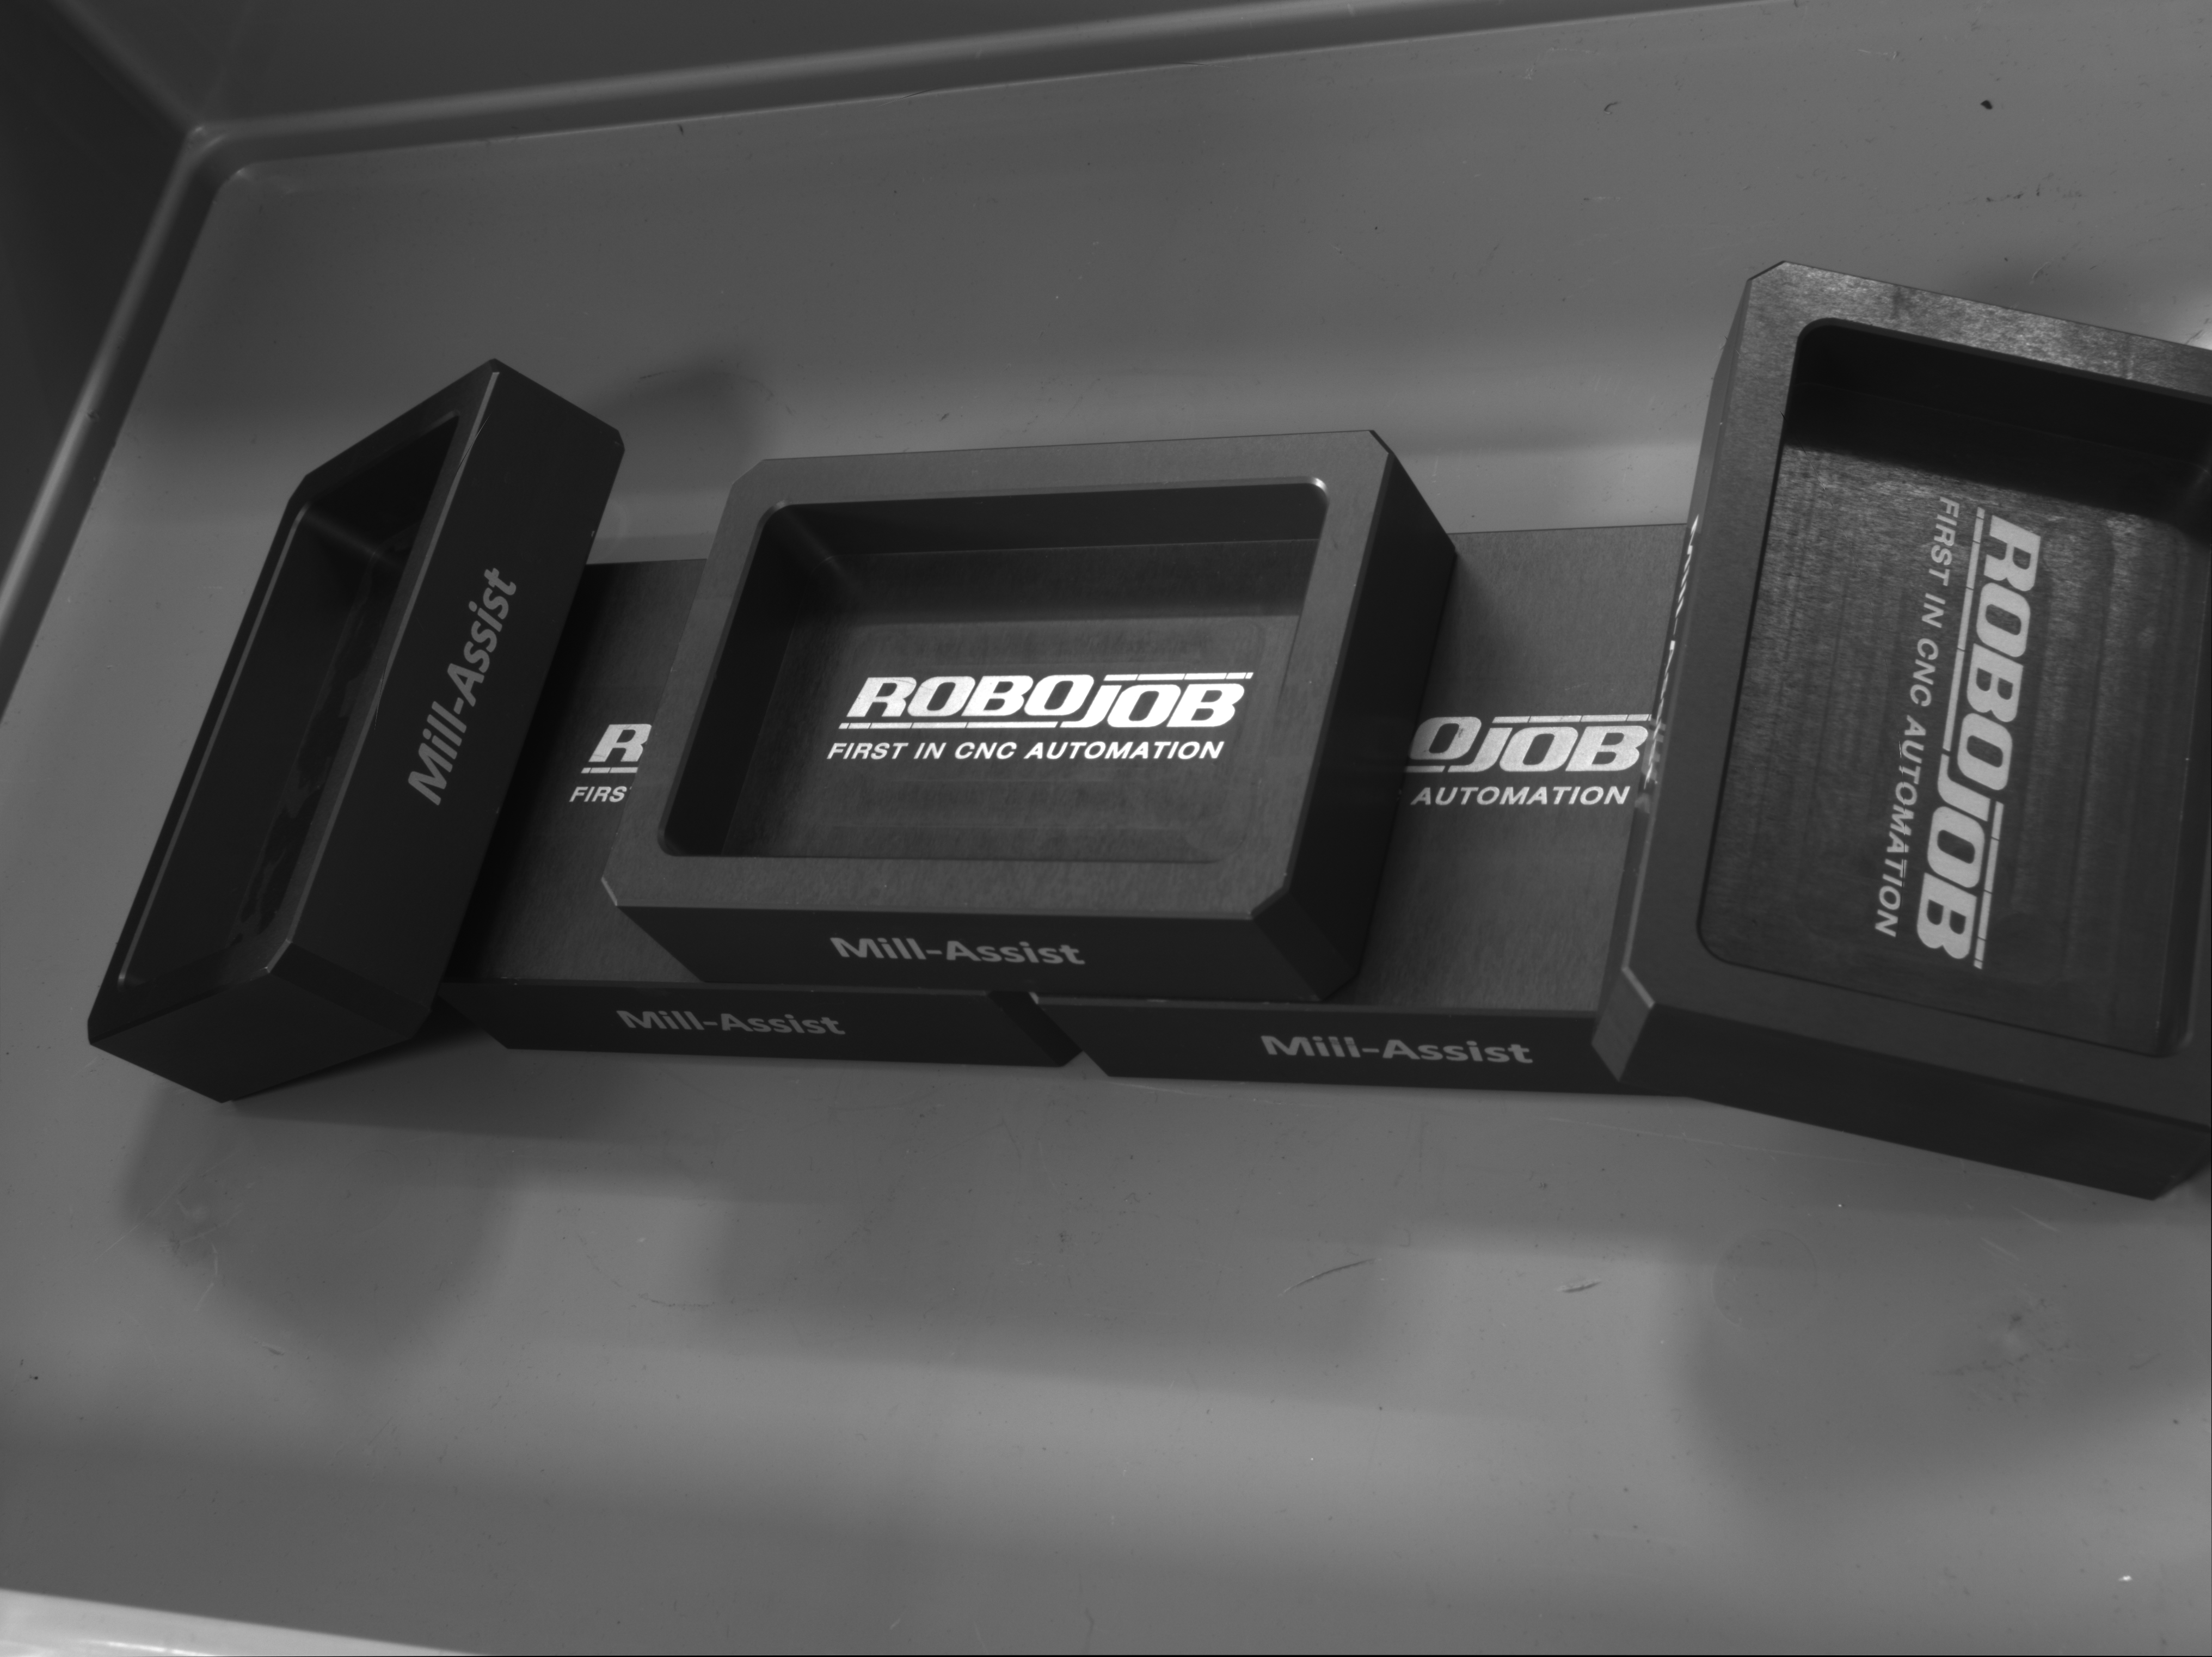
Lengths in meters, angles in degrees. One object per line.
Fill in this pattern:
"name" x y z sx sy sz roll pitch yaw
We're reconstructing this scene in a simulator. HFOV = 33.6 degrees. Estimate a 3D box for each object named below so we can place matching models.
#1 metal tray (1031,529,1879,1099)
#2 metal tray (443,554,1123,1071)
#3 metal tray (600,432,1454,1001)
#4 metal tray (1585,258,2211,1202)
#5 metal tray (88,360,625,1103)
"metal tray" 0.057 -0.003 0.612 0.130 0.030 0.090 0 61 29
"metal tray" -0.056 -0.004 0.674 0.130 0.030 0.090 0 61 29
"metal tray" -0.014 -0.019 0.620 0.130 0.030 0.090 0 61 29
"metal tray" 0.129 -0.017 0.556 0.090 0.030 0.130 13 65 3
"metal tray" -0.144 -0.018 0.706 0.090 0.030 0.130 -18 50 50
